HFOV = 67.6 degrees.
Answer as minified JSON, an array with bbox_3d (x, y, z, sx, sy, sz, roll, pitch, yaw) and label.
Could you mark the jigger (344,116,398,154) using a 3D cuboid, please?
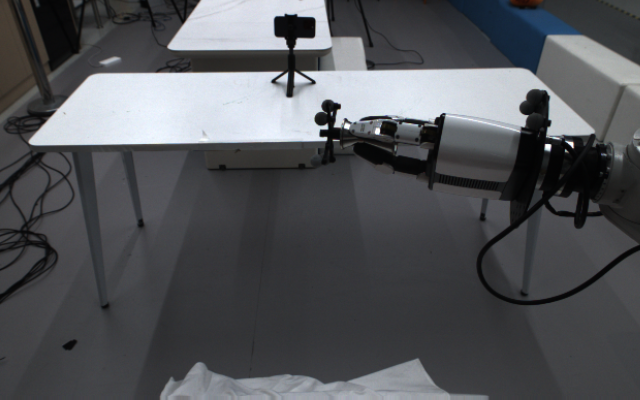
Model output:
[{"bbox_3d":[0.068,-0.082,0.605,0.071,0.043,0.043,7,35,14],"label":"jigger"}]
